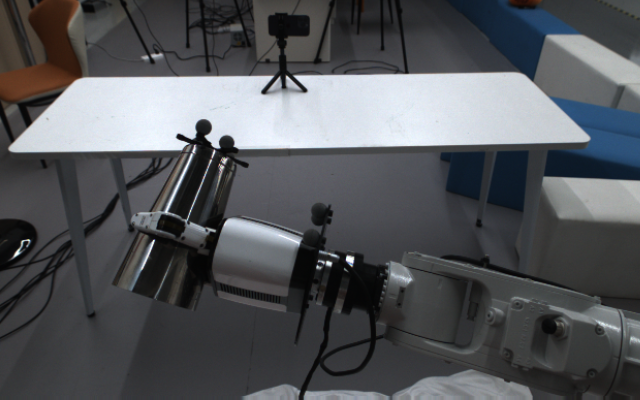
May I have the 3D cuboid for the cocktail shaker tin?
[{"bbox_3d":[-0.154,0.029,0.542,0.093,0.093,0.170,14,74,17],"label":"cocktail shaker tin"}]
